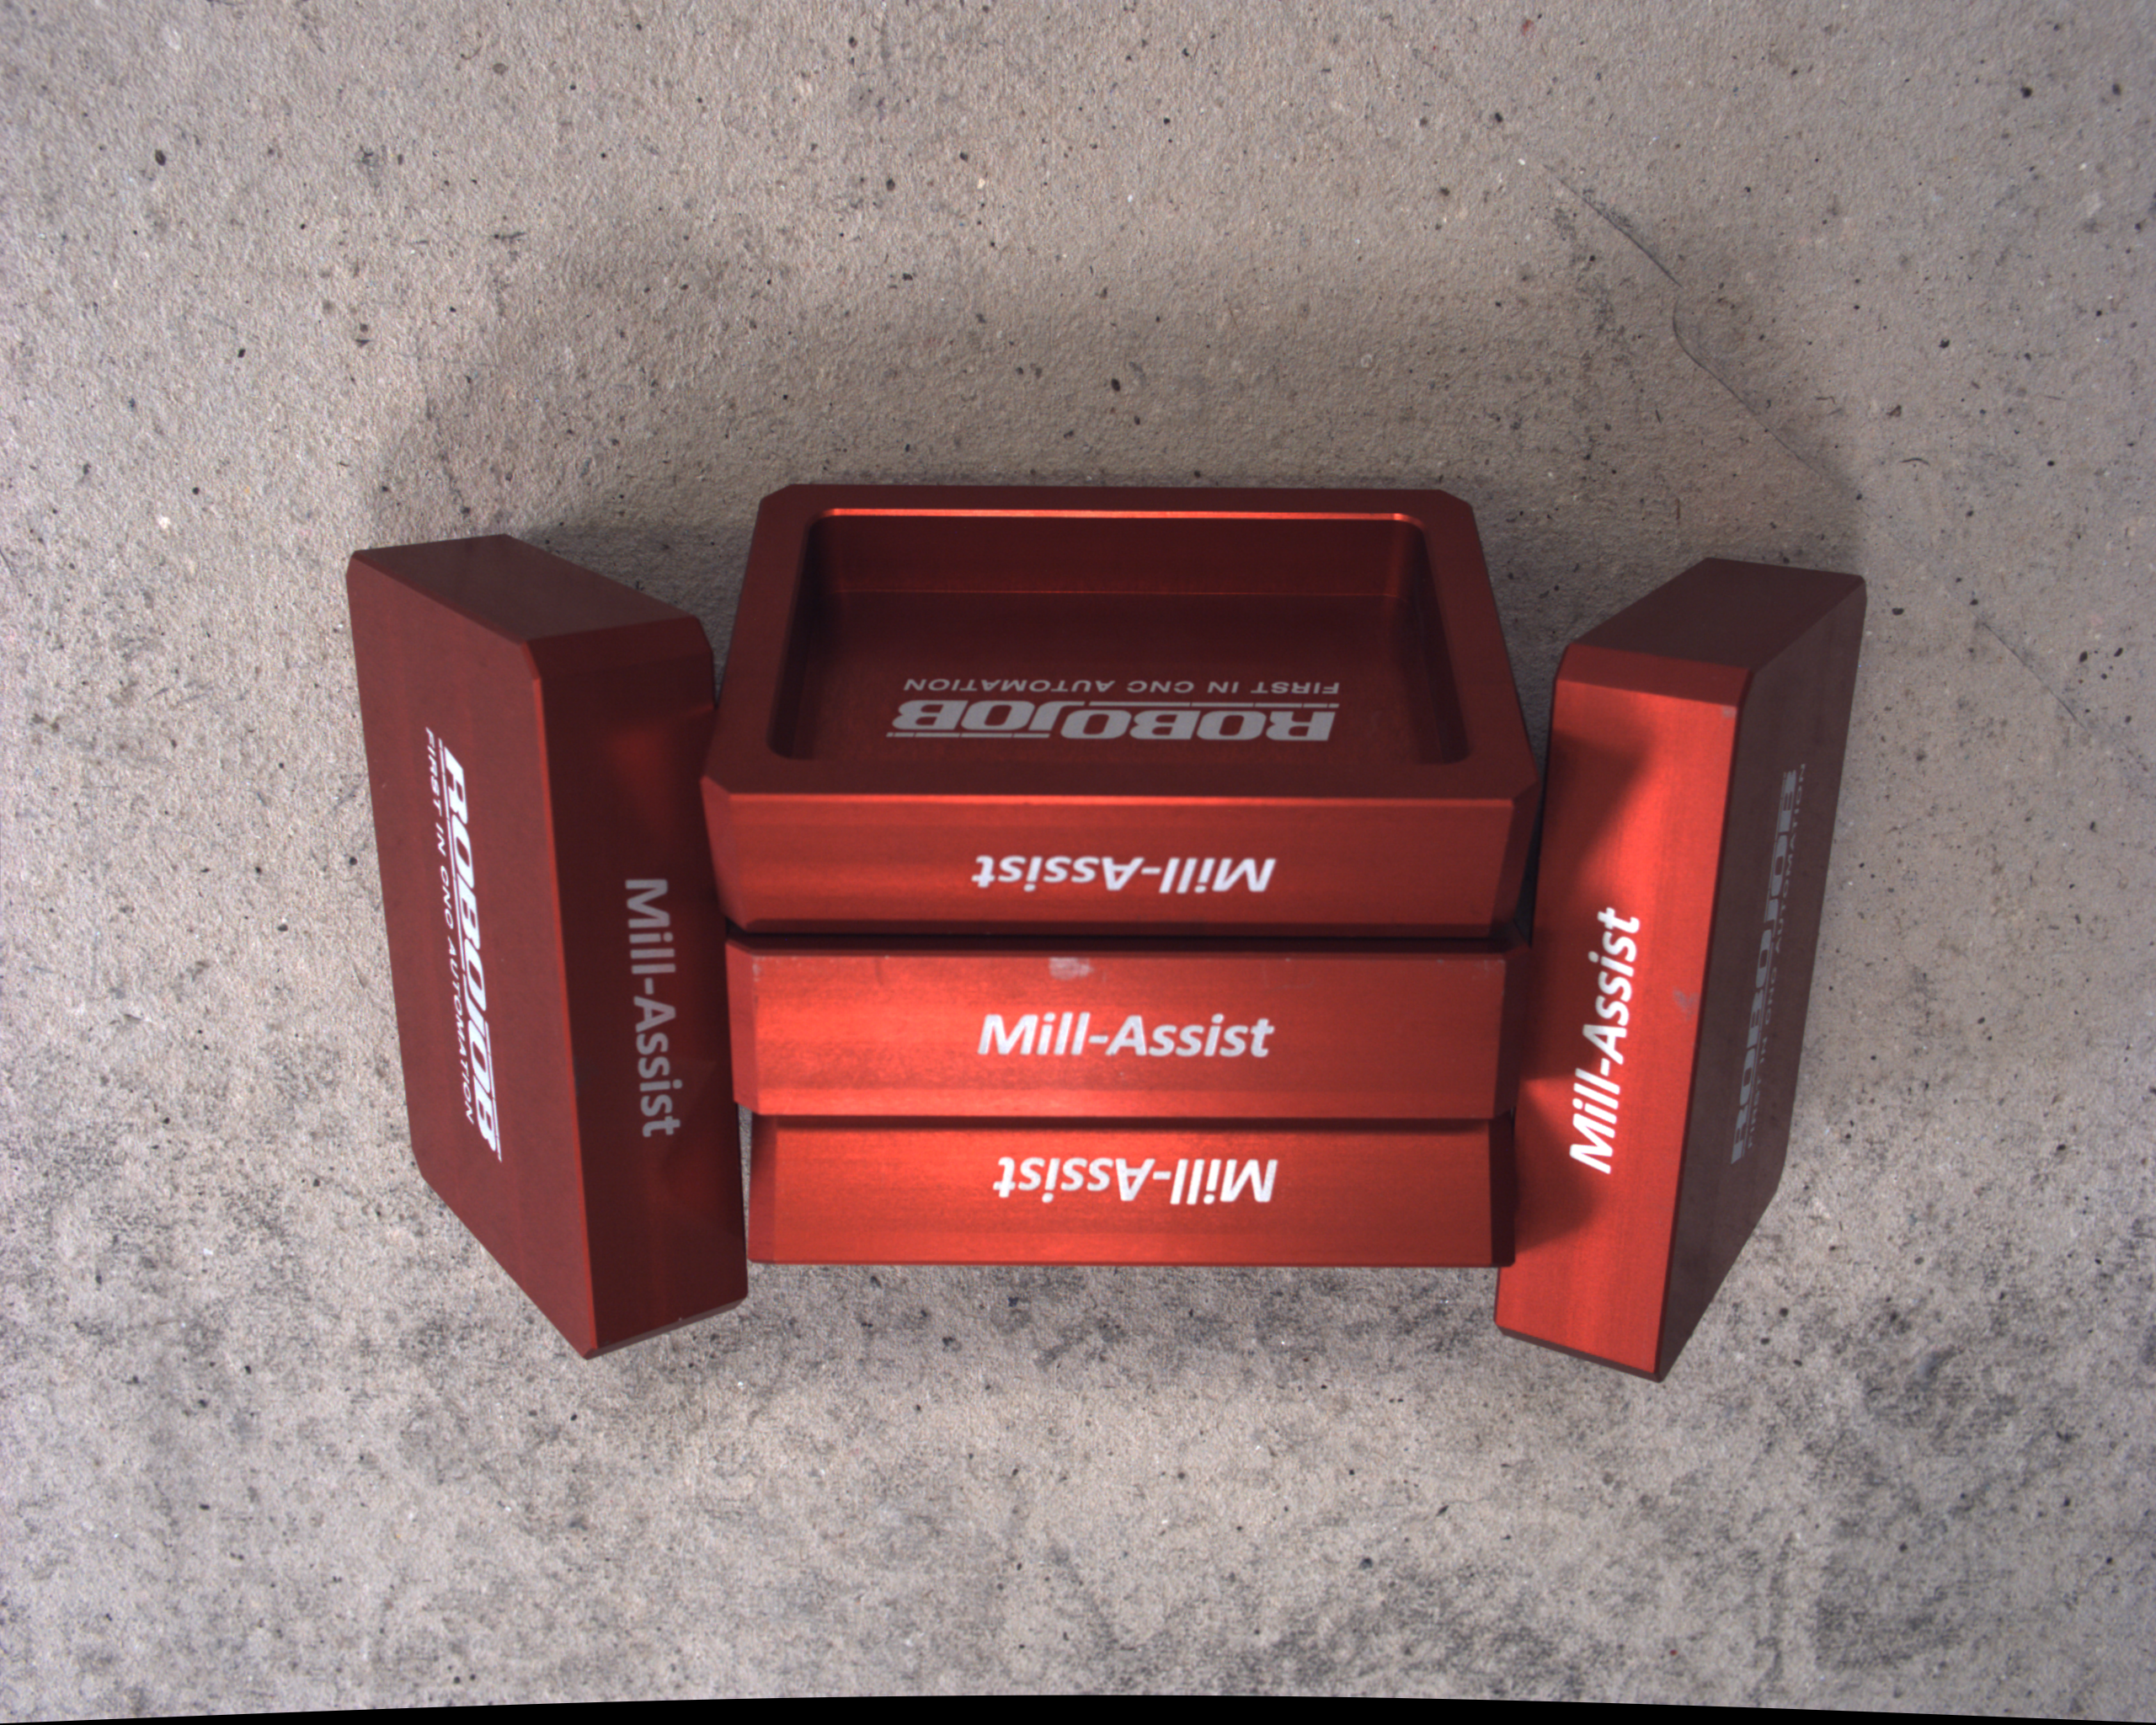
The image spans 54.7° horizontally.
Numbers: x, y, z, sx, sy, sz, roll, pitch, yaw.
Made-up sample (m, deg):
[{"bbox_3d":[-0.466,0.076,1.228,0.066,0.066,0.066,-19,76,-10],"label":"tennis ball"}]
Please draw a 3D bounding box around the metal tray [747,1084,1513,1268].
[{"bbox_3d":[0.009,0.060,0.397,0.131,0.090,0.030,1,81,-1],"label":"metal tray"}]

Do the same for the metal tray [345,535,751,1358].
[{"bbox_3d":[-0.097,0.012,0.381,0.030,0.090,0.129,-14,115,-34],"label":"metal tray"}]

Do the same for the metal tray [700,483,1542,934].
[{"bbox_3d":[0.007,-0.029,0.363,0.131,0.090,0.030,0,132,0],"label":"metal tray"}]

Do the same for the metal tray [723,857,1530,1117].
[{"bbox_3d":[0.008,0.013,0.380,0.131,0.090,0.030,0,110,-1],"label":"metal tray"}]

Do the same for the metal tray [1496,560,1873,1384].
[{"bbox_3d":[0.112,0.017,0.382,0.030,0.091,0.129,13,113,29],"label":"metal tray"}]
